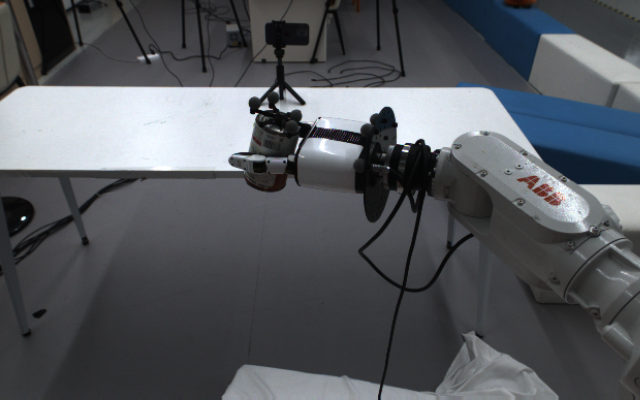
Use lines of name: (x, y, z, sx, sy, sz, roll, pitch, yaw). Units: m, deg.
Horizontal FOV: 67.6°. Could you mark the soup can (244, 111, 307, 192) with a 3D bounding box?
soup can: (-0.071, -0.070, 0.712, 0.067, 0.101, 0.067, 13, 35, -9)
